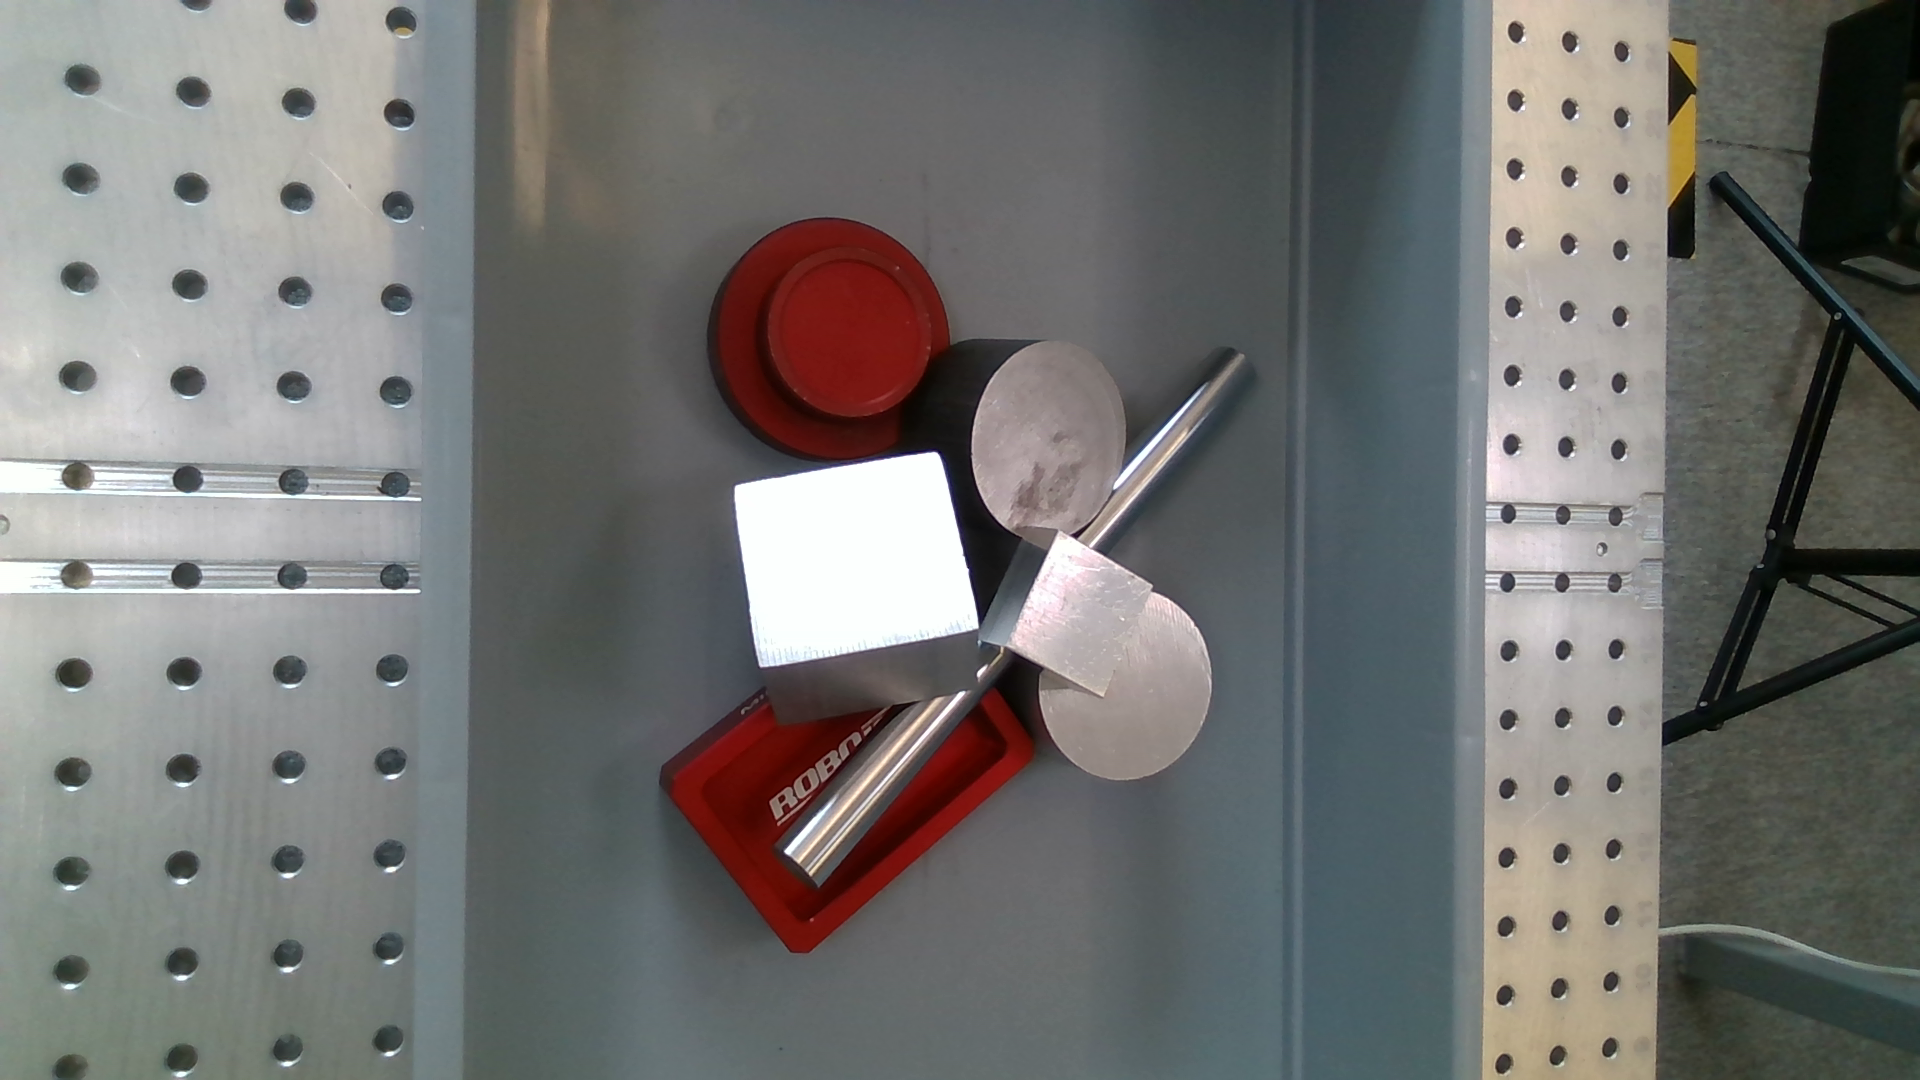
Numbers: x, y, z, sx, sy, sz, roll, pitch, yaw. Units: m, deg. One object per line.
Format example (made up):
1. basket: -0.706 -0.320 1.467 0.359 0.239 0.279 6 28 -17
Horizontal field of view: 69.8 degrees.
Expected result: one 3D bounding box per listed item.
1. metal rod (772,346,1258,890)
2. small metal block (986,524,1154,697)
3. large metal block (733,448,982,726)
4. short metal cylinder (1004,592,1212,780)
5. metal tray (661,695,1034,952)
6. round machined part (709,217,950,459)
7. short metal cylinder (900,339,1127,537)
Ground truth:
1. metal rod: 0.032 0.021 0.571 0.025 0.025 0.299 49 66 -14
2. small metal block: 0.041 0.028 0.544 0.050 0.025 0.050 29 80 -26
3. large metal block: -0.039 0.018 0.529 0.080 0.050 0.080 -10 59 -6
4. short metal cylinder: 0.061 0.060 0.595 0.080 0.050 0.080 0 90 -20
5. metal tray: -0.045 0.092 0.566 0.130 0.030 0.090 -38 103 -16
6. round machined part: -0.050 -0.082 0.556 0.098 0.042 0.098 0 90 -20
7. short metal cylinder: 0.022 -0.043 0.568 0.080 0.050 0.080 -7 102 -36
